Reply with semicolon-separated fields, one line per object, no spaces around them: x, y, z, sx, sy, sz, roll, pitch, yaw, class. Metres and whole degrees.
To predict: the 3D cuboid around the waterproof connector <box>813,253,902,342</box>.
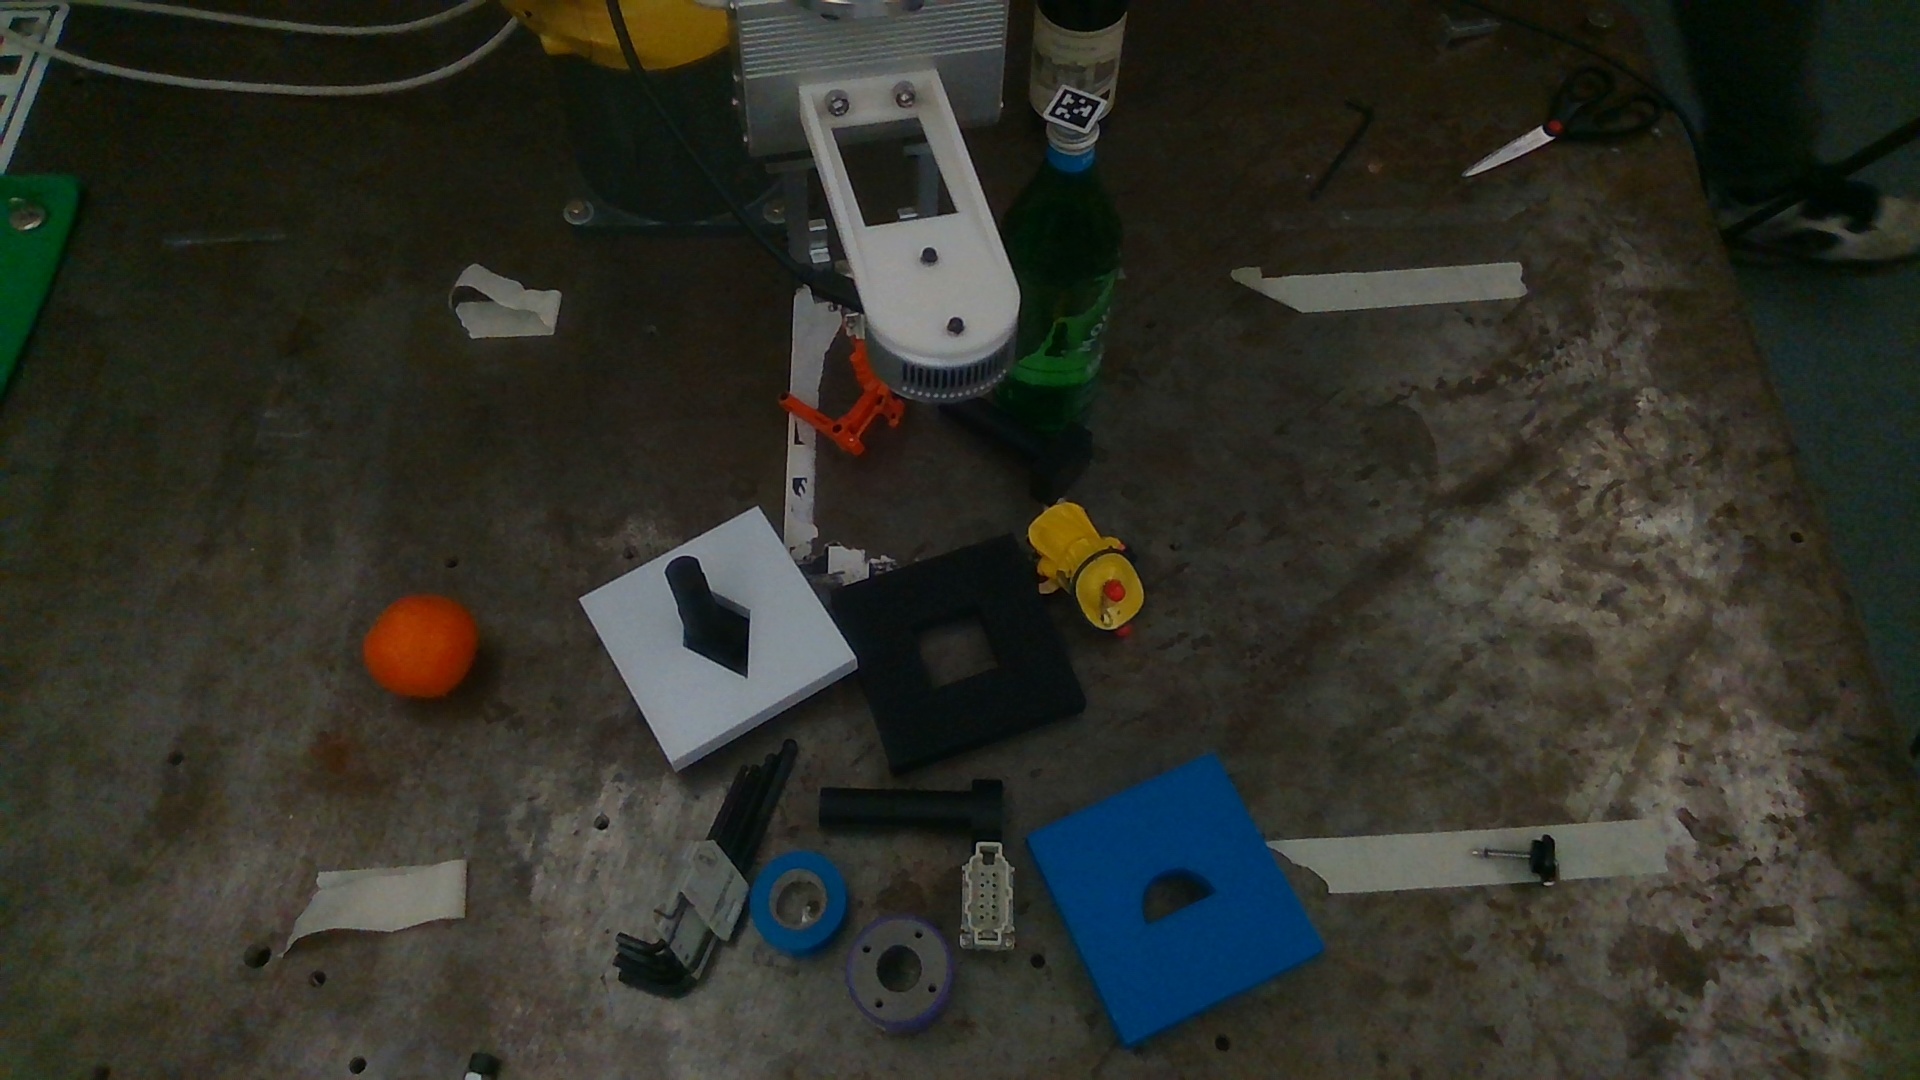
-0.056;-0.129;0.738;0.036;0.038;0.069;-13;21;-11;waterproof connector
